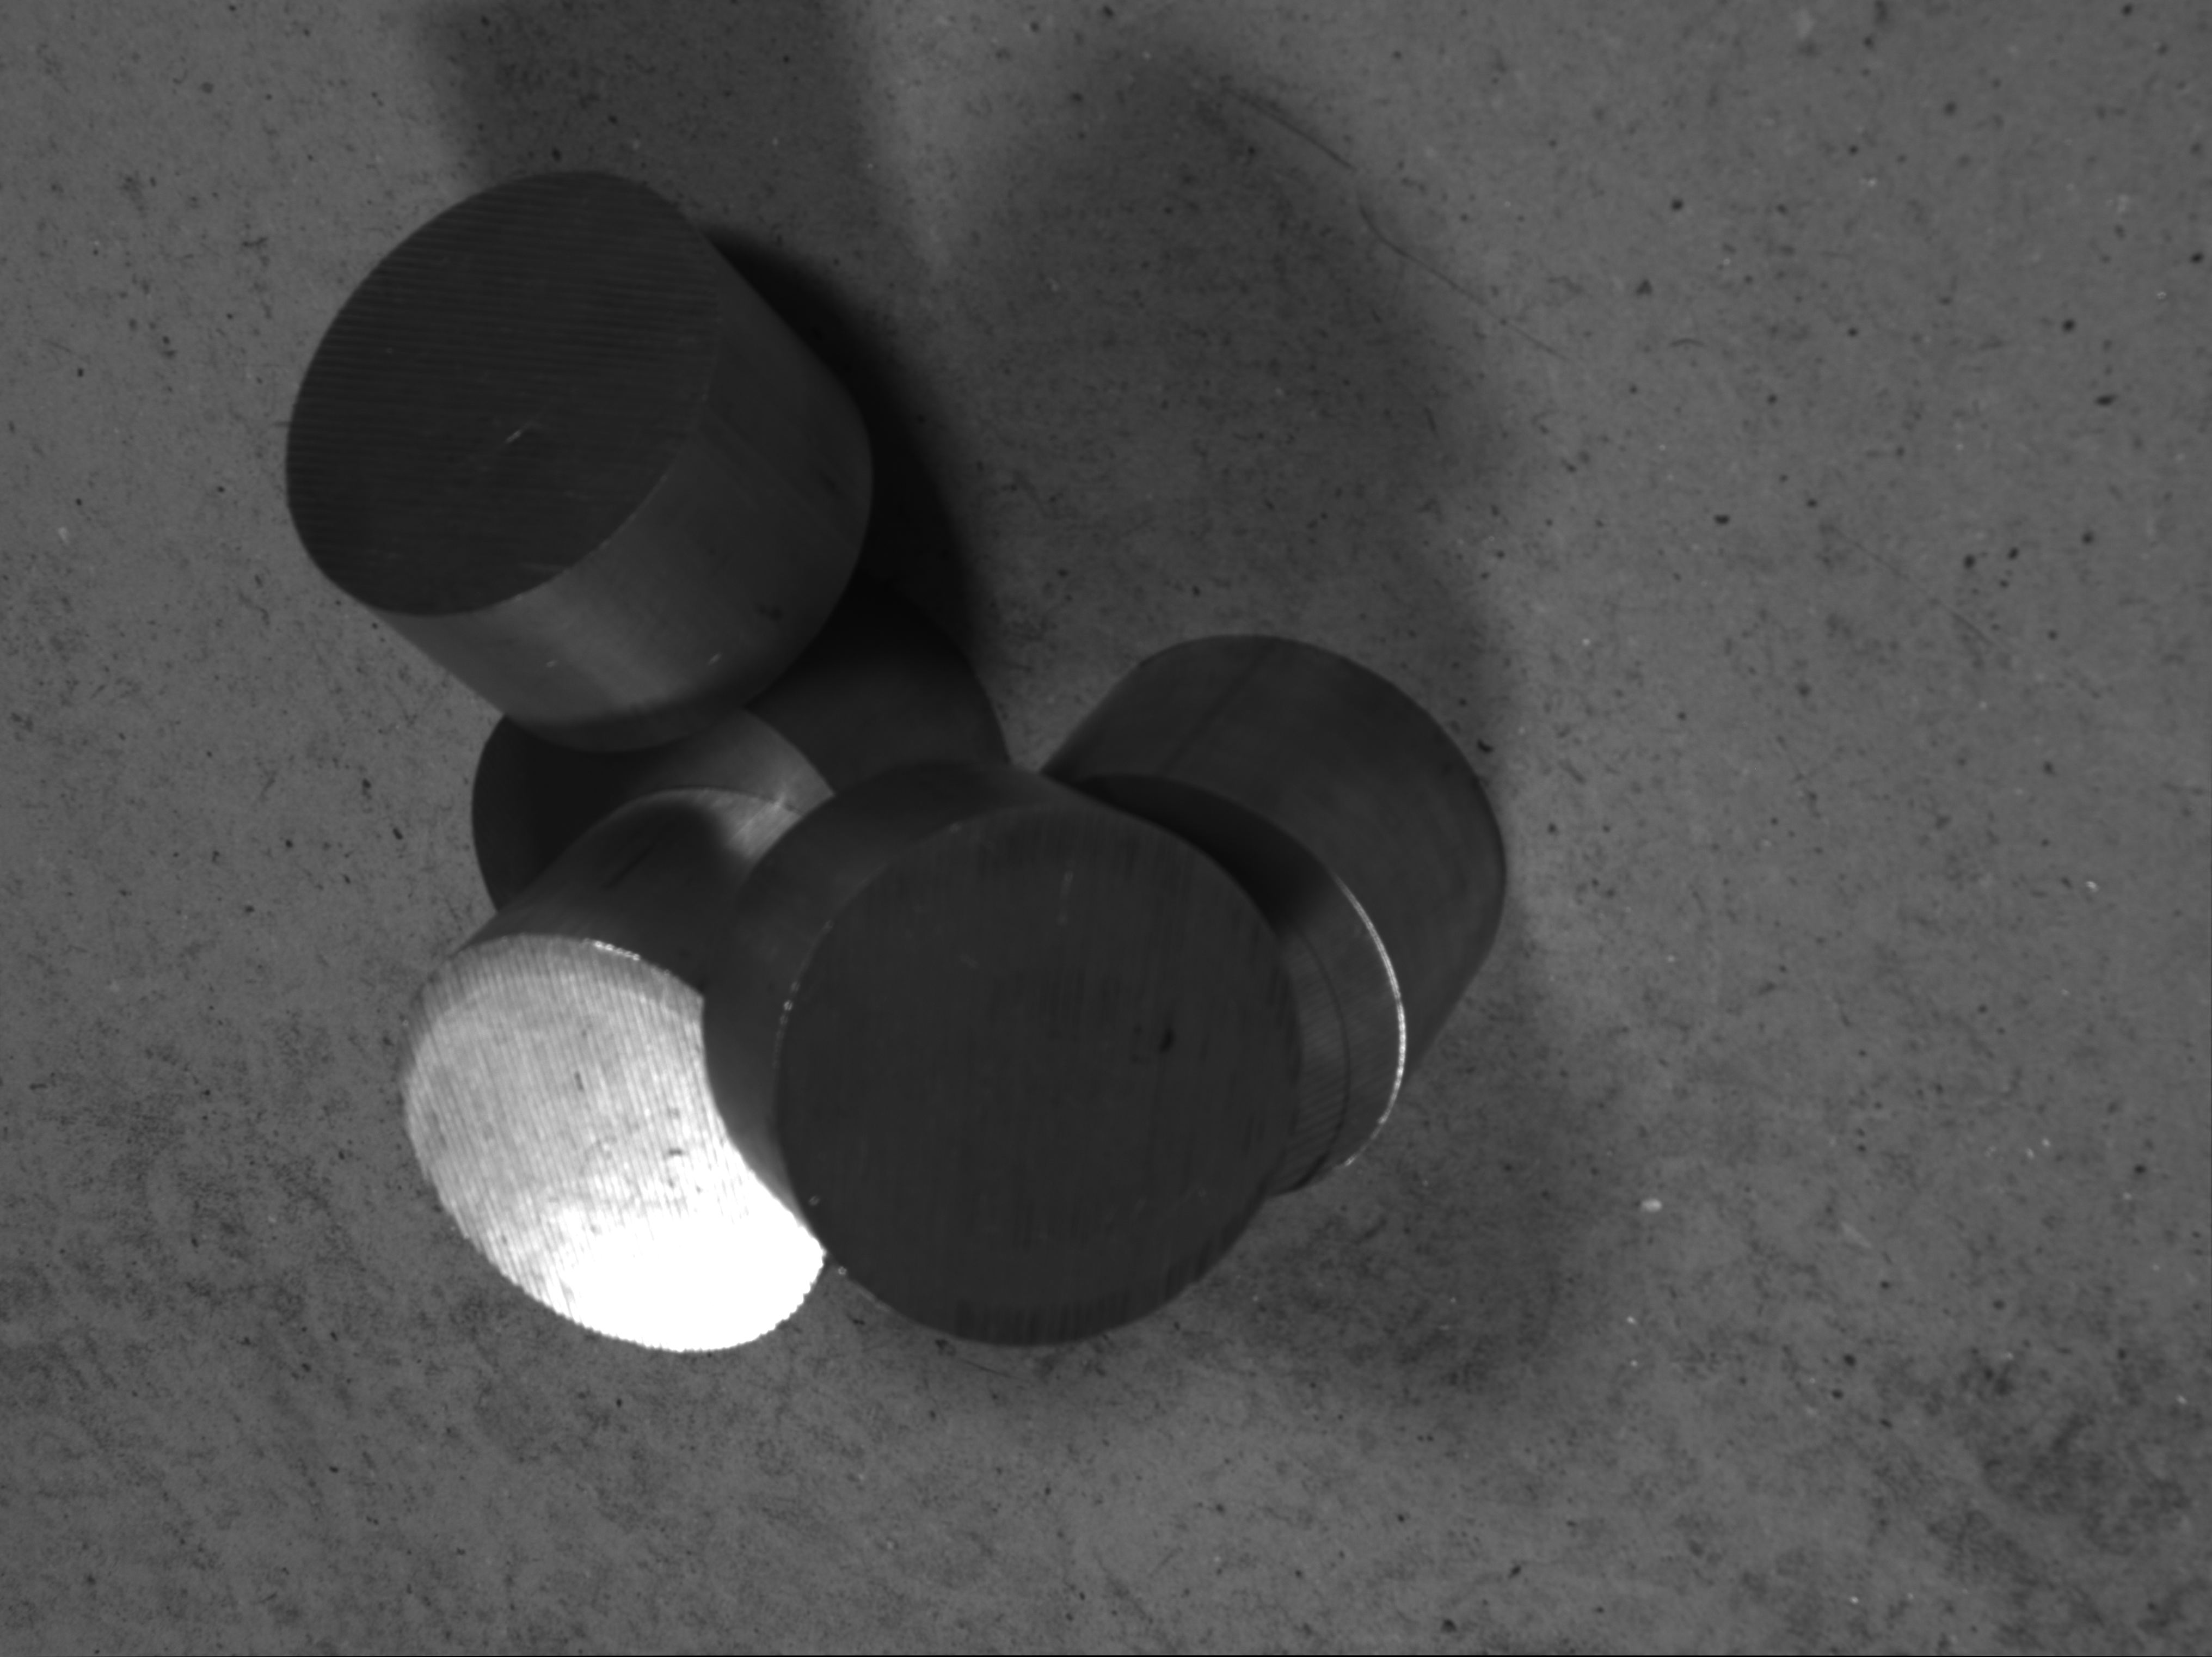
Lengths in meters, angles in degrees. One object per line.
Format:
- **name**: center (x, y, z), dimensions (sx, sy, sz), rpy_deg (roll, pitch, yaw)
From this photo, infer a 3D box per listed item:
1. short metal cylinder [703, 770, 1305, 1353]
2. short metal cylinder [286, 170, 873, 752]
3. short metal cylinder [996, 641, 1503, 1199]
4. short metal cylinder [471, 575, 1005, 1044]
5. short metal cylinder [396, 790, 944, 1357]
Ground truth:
- **short metal cylinder**: center (-0.016, 0.033, 0.552), dimensions (0.080, 0.080, 0.050), rpy_deg (61, 168, -16)
- **short metal cylinder**: center (-0.085, -0.059, 0.595), dimensions (0.080, 0.080, 0.050), rpy_deg (0, 157, 27)
- **short metal cylinder**: center (0.020, 0.015, 0.614), dimensions (0.080, 0.050, 0.080), rpy_deg (12, 123, 20)
- **short metal cylinder**: center (-0.064, -0.003, 0.646), dimensions (0.080, 0.050, 0.080), rpy_deg (12, 123, 20)
- **short metal cylinder**: center (-0.070, 0.041, 0.611), dimensions (0.080, 0.050, 0.080), rpy_deg (12, 123, 20)
